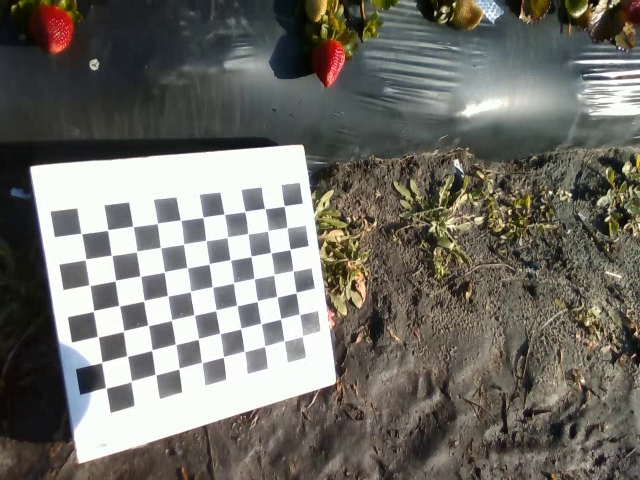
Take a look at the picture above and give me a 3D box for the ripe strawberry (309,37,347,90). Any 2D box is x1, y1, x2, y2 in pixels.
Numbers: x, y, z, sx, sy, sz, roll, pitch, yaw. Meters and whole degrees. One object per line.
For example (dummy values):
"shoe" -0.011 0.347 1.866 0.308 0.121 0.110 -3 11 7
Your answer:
"ripe strawberry" 0.008 -0.180 0.740 0.042 0.059 0.042 17 -23 -35

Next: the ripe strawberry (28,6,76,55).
"ripe strawberry" -0.232 -0.180 0.626 0.045 0.055 0.042 0 -34 -37
